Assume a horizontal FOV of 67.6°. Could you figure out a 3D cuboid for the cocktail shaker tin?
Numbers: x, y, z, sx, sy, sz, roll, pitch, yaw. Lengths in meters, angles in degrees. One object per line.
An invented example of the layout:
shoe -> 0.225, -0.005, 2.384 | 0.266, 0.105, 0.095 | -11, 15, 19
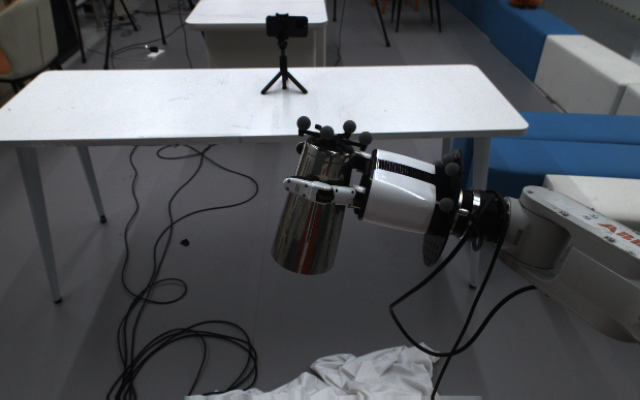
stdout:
cocktail shaker tin -> -0.003, 0.002, 0.653 | 0.093, 0.170, 0.093 | 12, 25, -6
